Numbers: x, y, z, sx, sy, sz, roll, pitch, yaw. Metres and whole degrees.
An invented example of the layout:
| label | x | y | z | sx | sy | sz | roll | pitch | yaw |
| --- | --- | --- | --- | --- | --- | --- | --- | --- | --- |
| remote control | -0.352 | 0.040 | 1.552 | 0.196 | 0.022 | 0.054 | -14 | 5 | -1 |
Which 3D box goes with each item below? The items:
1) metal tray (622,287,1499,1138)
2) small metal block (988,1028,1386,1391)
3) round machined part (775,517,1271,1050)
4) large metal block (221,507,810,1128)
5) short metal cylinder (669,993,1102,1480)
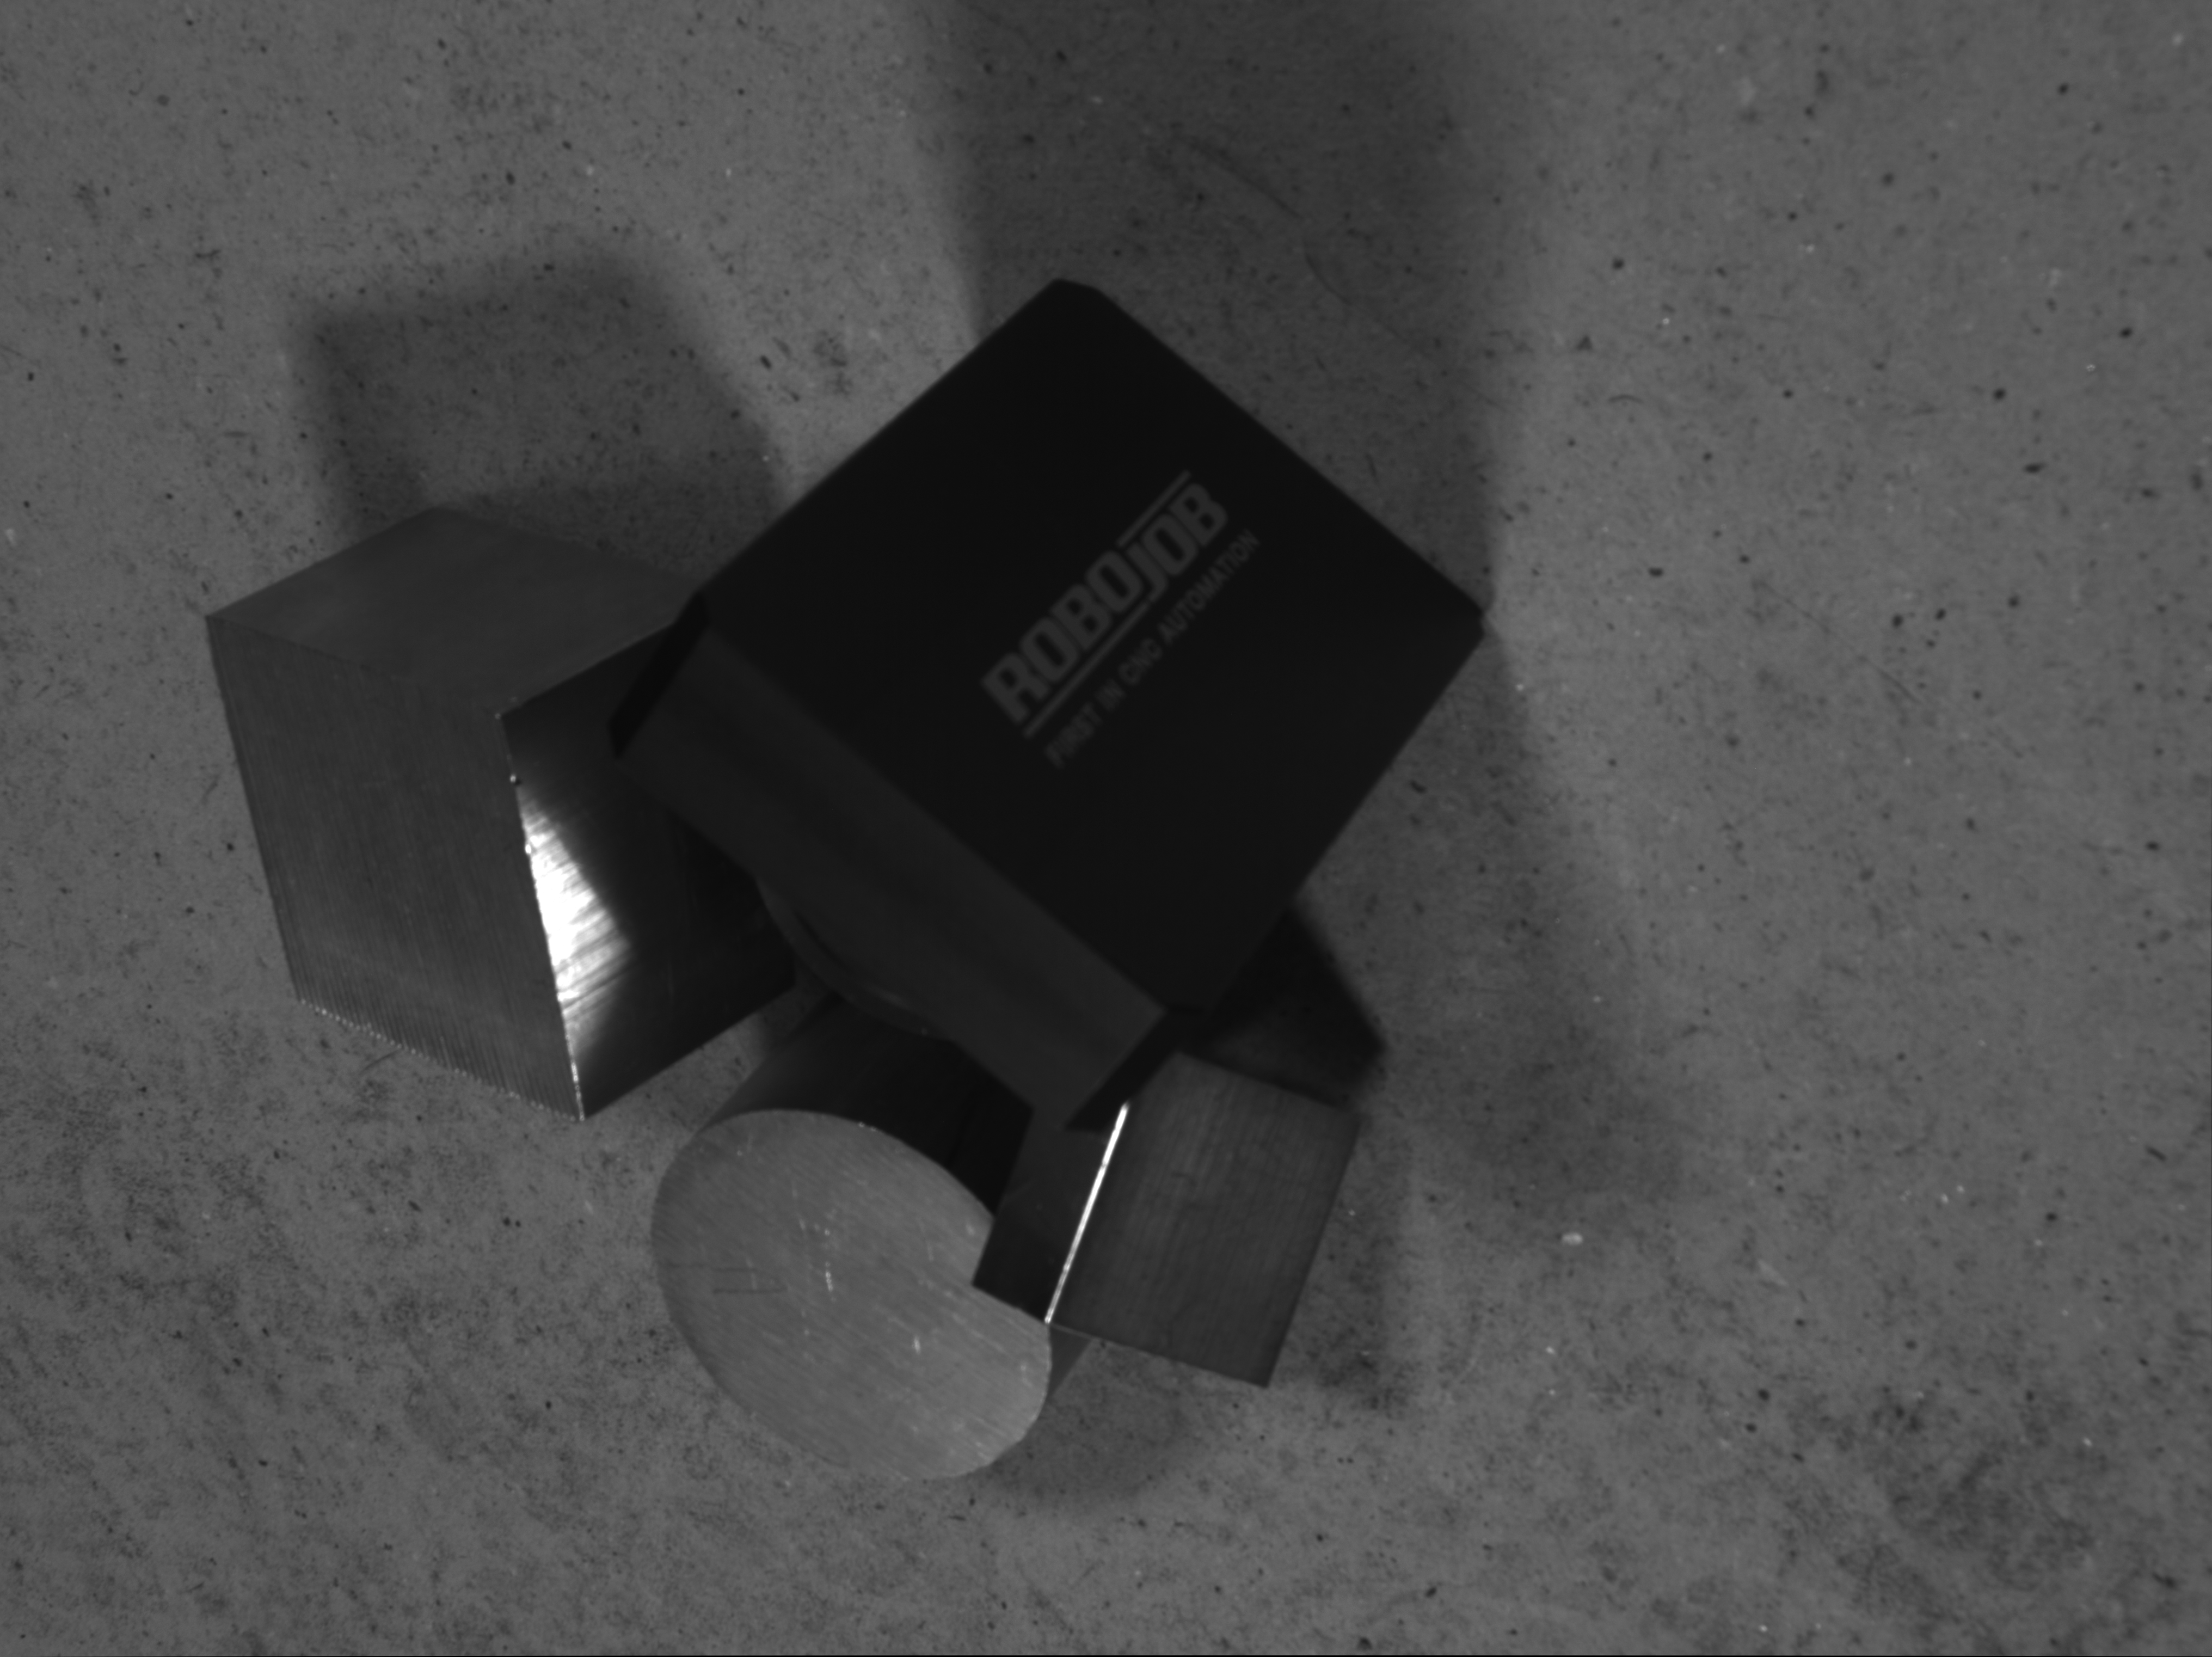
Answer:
| label | x | y | z | sx | sy | sz | roll | pitch | yaw |
| --- | --- | --- | --- | --- | --- | --- | --- | --- | --- |
| metal tray | -0.002 | -0.022 | 0.551 | 0.090 | 0.130 | 0.030 | 39 | 128 | 1 |
| small metal block | 0.014 | 0.065 | 0.633 | 0.050 | 0.050 | 0.025 | 22 | 177 | -34 |
| round machined part | -0.019 | -0.003 | 0.629 | 0.098 | 0.042 | 0.098 | 12 | 123 | 20 |
| large metal block | -0.104 | -0.004 | 0.649 | 0.080 | 0.050 | 0.080 | 18 | 127 | 37 |
| short metal cylinder | -0.033 | 0.073 | 0.676 | 0.080 | 0.050 | 0.080 | 12 | 123 | 20 |
